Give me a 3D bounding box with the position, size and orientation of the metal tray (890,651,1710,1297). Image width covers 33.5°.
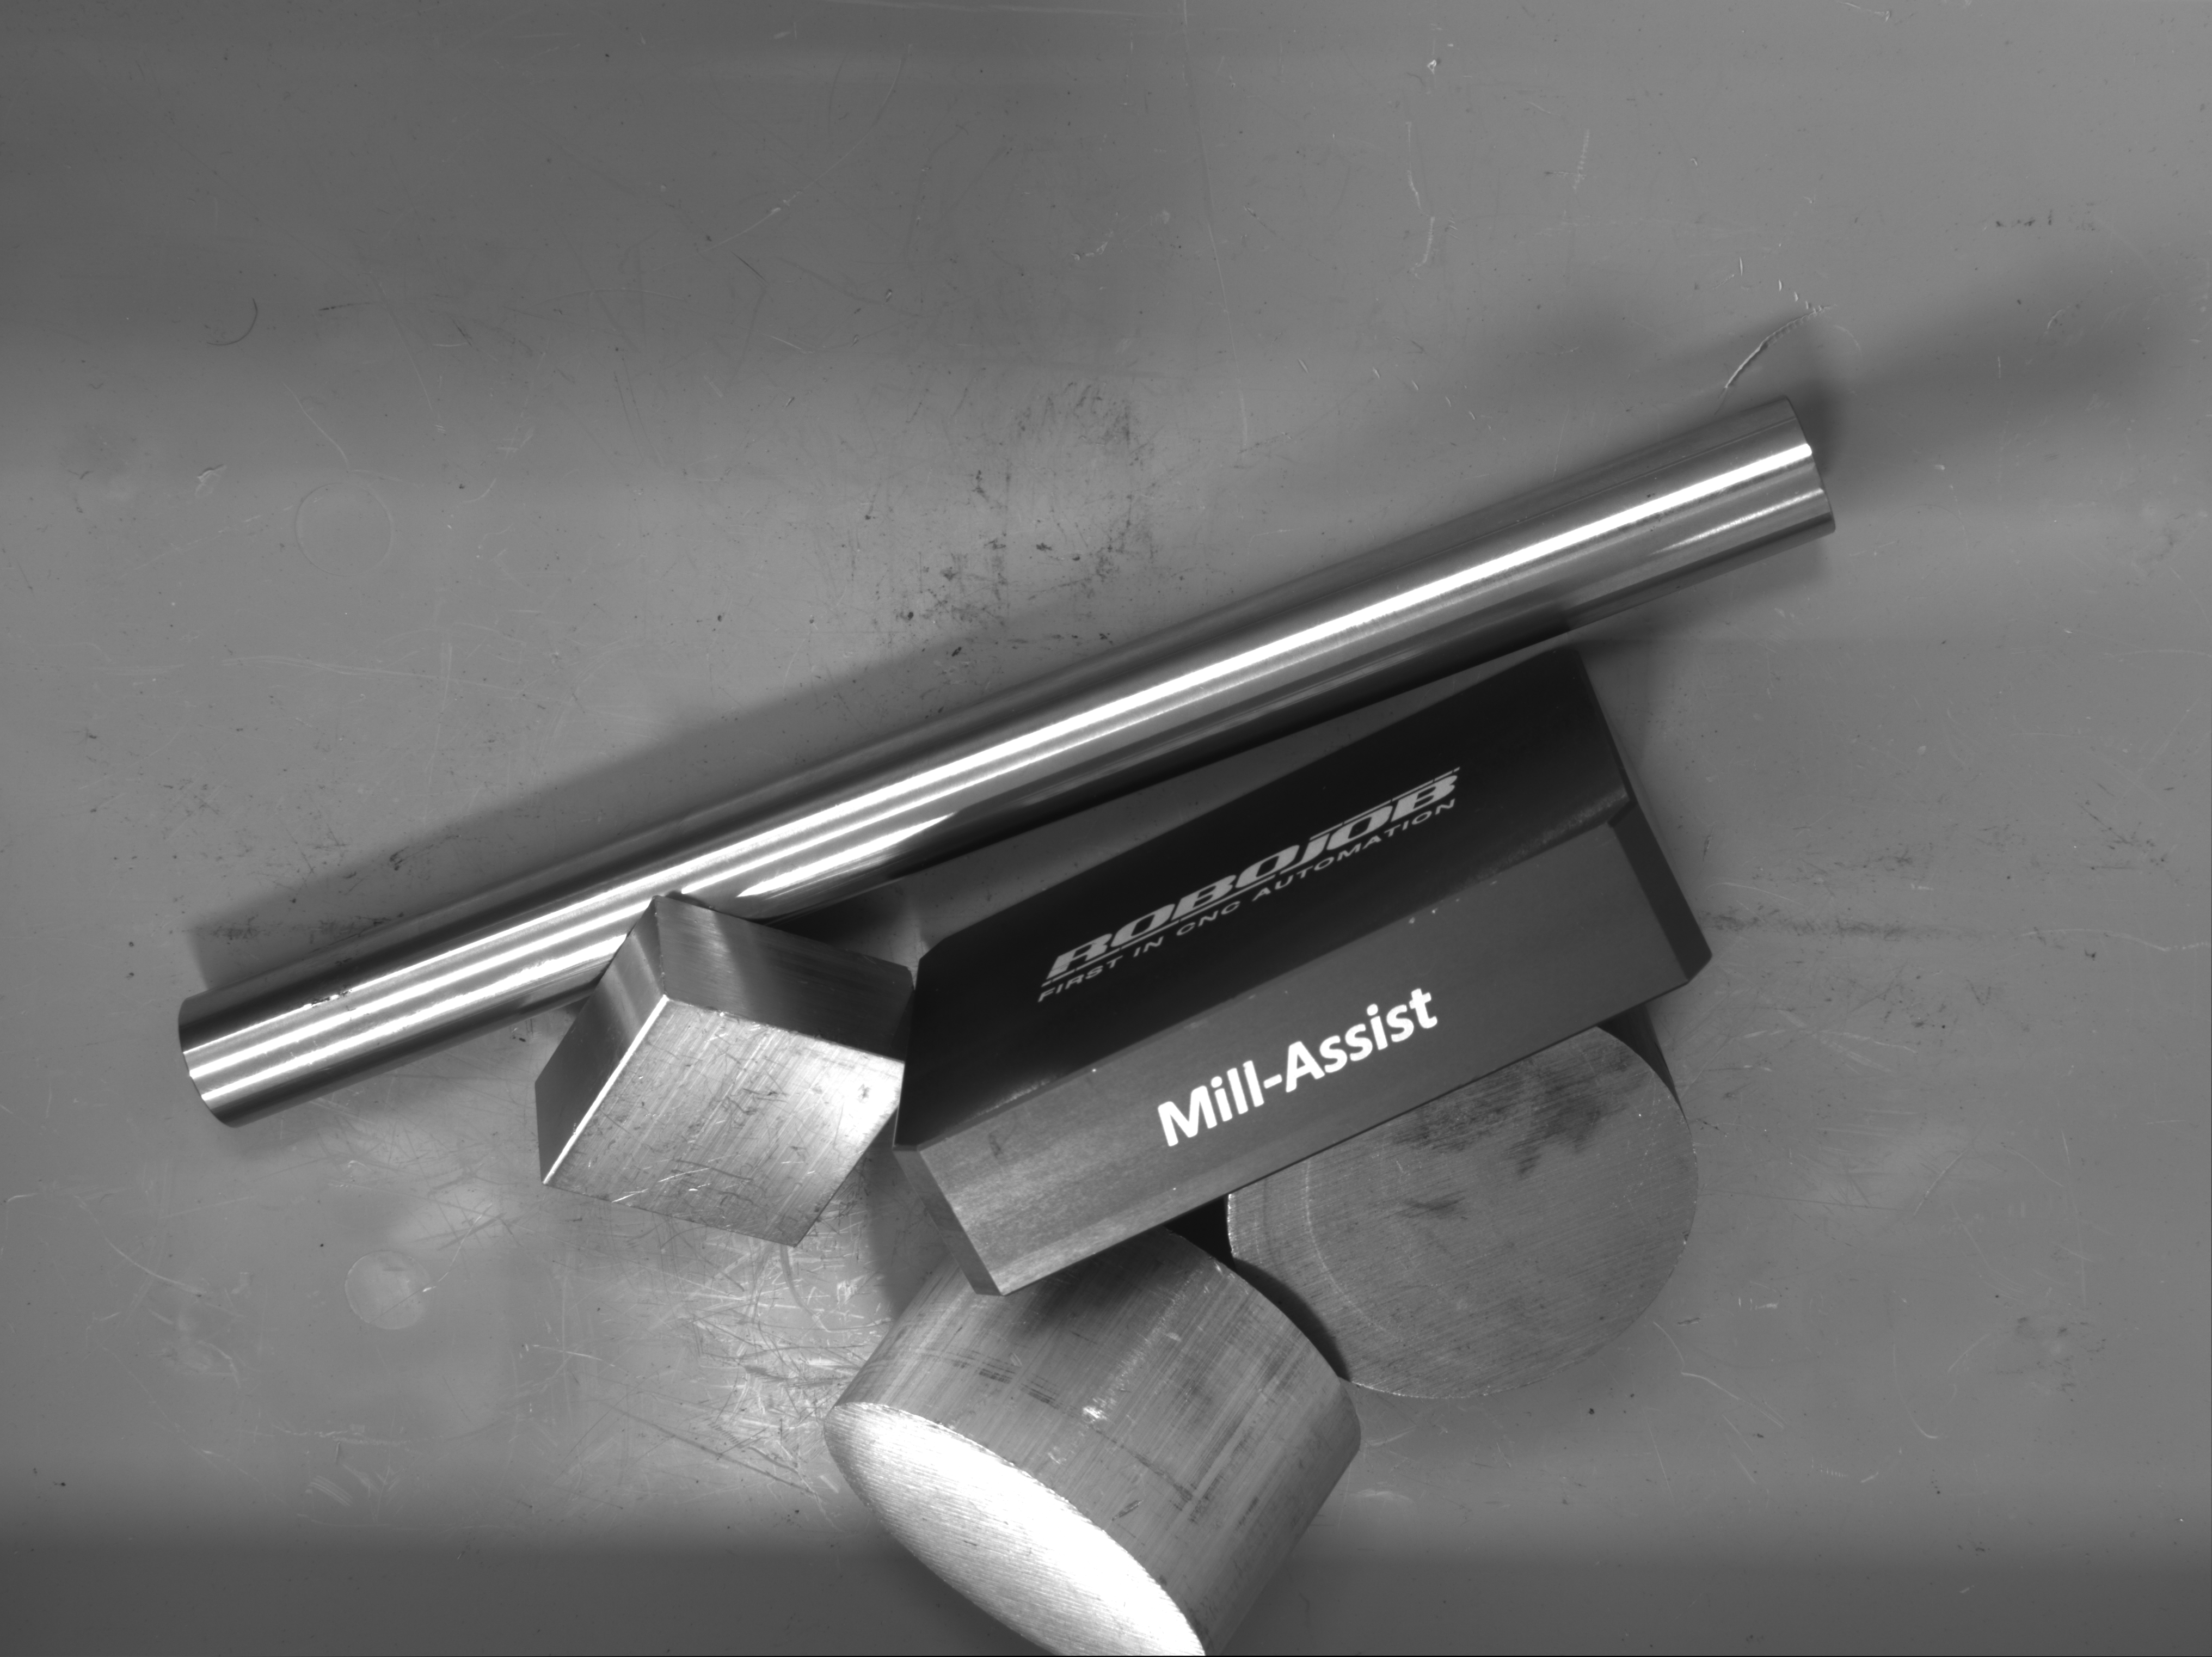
[{"bbox_3d":[0.030,0.022,0.616,0.130,0.090,0.030,-25,108,9],"label":"metal tray"}]

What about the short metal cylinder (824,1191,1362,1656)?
[{"bbox_3d":[-0.002,0.108,0.645,0.080,0.080,0.050,45,63,-14],"label":"short metal cylinder"}]

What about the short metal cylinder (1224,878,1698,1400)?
[{"bbox_3d":[0.059,0.052,0.643,0.080,0.050,0.080,-2,118,-3],"label":"short metal cylinder"}]

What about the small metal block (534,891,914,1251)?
[{"bbox_3d":[-0.066,0.043,0.645,0.050,0.025,0.050,18,126,-26],"label":"small metal block"}]

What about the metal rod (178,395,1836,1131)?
[{"bbox_3d":[-0.021,-0.010,0.639,0.300,0.025,0.025,-20,109,7],"label":"metal rod"}]
